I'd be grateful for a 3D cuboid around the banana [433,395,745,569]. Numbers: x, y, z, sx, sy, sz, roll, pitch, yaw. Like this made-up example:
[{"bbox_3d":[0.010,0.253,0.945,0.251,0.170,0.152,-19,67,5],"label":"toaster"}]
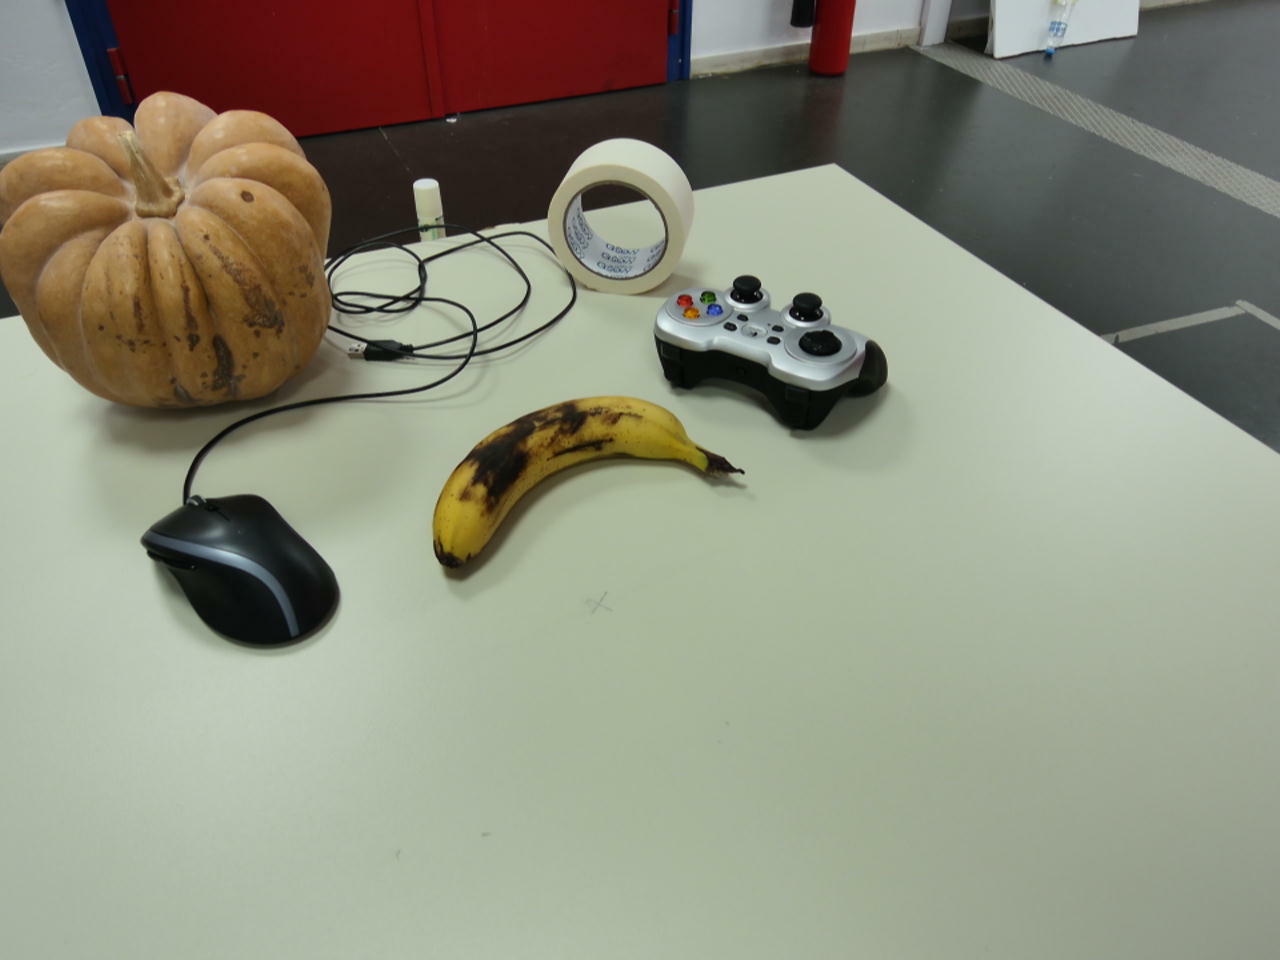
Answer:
[{"bbox_3d":[-0.044,-0.010,0.597,0.187,0.039,0.094,-17,42,-21],"label":"banana"}]
